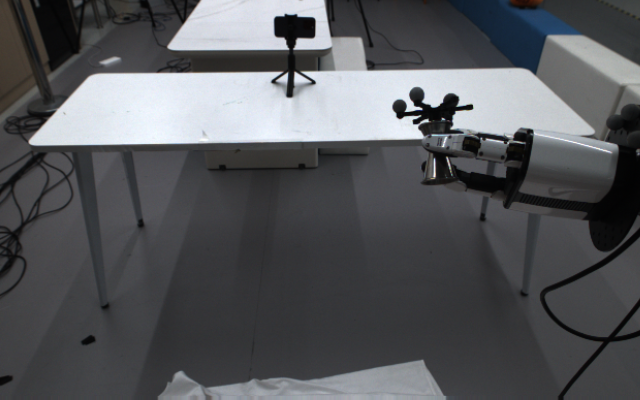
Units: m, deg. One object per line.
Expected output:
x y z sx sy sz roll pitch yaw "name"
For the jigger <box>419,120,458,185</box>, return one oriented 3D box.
0.137 -0.056 0.563 0.043 0.071 0.043 -2 -7 0 "jigger"
